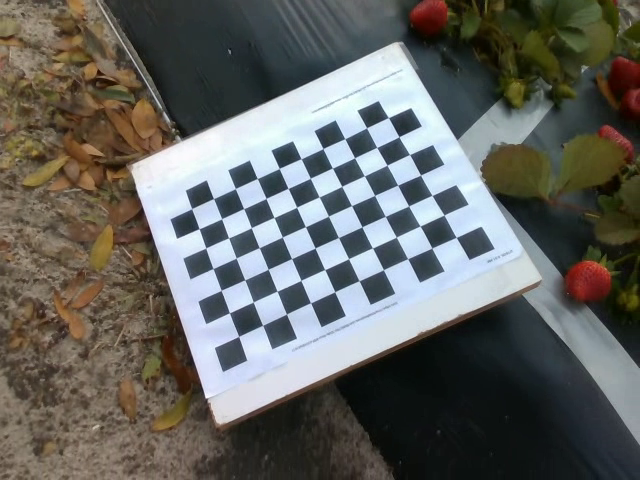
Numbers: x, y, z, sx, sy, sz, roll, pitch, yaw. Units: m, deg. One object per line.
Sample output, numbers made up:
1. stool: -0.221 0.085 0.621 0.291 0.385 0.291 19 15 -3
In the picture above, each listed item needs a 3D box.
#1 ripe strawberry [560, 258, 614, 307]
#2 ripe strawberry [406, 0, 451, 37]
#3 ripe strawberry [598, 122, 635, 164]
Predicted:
1. ripe strawberry: 0.217 0.041 0.541 0.039 0.047 0.041 20 -28 30
2. ripe strawberry: 0.101 -0.219 0.659 0.046 0.040 0.036 -4 37 -42
3. ripe strawberry: 0.289 -0.092 0.655 0.043 0.062 0.043 -12 -35 12
